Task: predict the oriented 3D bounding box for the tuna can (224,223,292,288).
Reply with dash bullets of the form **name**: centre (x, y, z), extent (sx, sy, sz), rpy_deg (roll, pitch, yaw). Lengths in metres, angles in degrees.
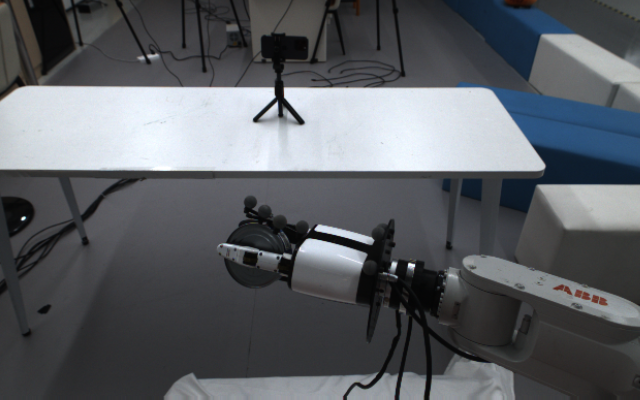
- **tuna can**: centre (-0.079, 0.072, 0.641), extent (0.085, 0.085, 0.034), rpy_deg (13, 3, 16)
